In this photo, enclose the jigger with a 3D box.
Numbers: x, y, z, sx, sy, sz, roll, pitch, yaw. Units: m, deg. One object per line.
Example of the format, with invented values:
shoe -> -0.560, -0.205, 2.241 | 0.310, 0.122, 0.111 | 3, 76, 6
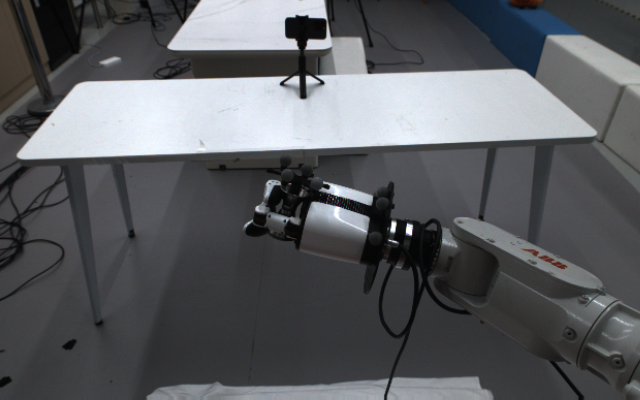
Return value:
jigger -> -0.044, 0.017, 0.668 | 0.043, 0.071, 0.043 | 18, 17, -6
